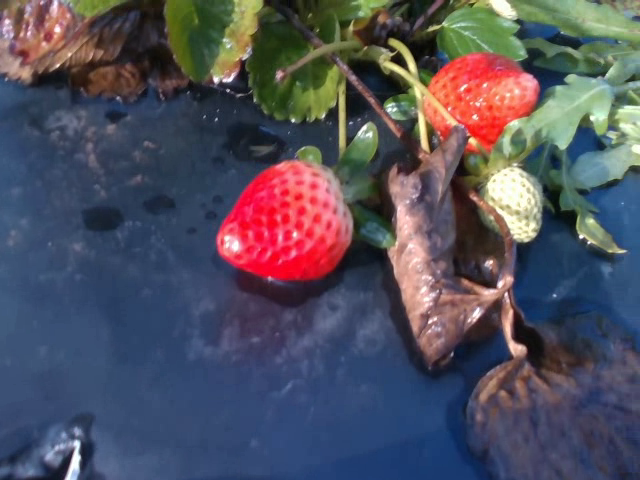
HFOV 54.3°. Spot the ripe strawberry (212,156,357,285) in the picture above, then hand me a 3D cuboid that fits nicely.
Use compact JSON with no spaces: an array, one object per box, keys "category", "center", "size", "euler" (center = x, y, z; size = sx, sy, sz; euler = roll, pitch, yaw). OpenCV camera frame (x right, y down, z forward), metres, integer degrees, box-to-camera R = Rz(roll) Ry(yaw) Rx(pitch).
[{"category":"ripe strawberry","center":[-0.010,-0.005,0.160],"size":[0.043,0.030,0.035],"euler":[-31,53,-34]}]

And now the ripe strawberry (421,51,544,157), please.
[{"category":"ripe strawberry","center":[0.056,-0.049,0.202],"size":[0.039,0.032,0.048],"euler":[-14,5,-16]}]
